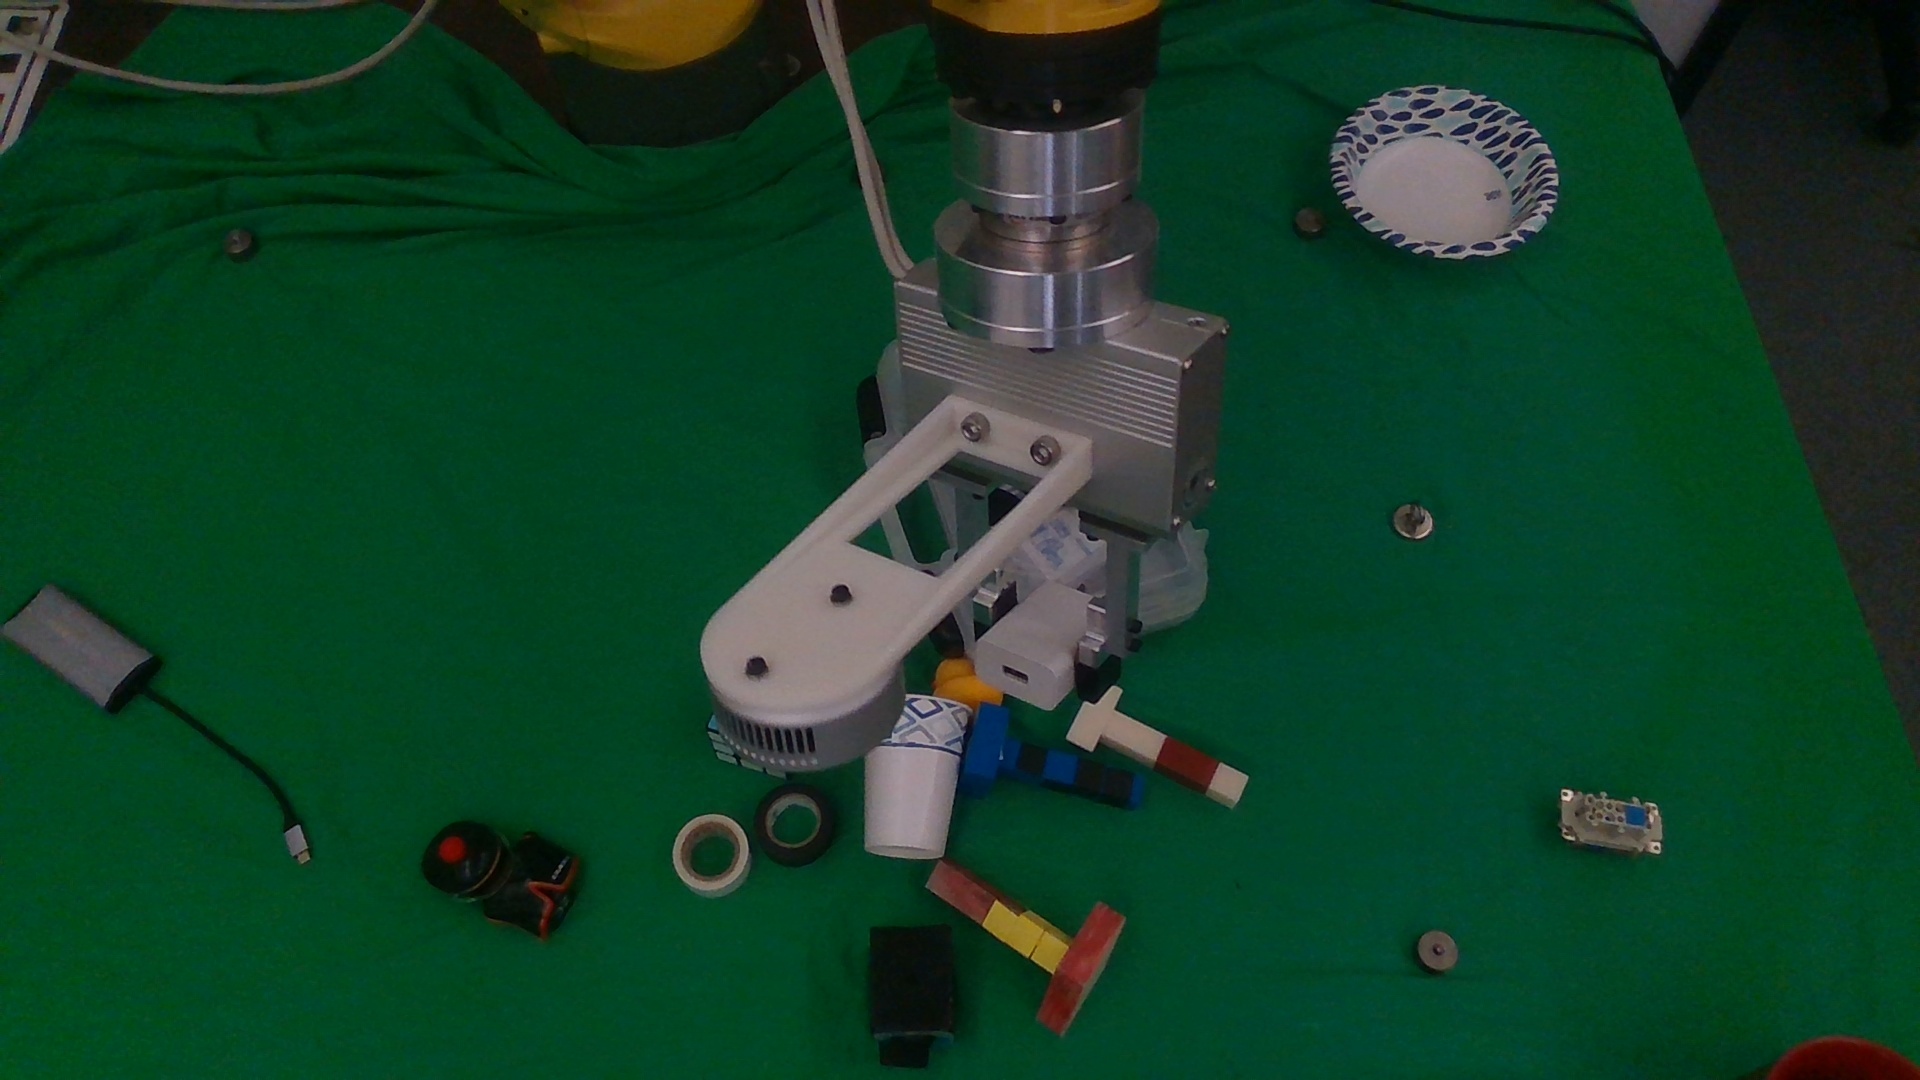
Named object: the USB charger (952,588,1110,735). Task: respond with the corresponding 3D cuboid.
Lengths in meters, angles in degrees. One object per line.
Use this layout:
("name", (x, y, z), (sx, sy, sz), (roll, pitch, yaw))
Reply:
("USB charger", (0.035, 0.045, 0.589), (0.045, 0.029, 0.075), (31, 48, 29))

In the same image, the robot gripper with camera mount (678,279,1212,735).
("robot gripper with camera mount", (-0.013, 0.025, 0.488), (0.119, 0.158, 0.193), (19, 37, 29))
